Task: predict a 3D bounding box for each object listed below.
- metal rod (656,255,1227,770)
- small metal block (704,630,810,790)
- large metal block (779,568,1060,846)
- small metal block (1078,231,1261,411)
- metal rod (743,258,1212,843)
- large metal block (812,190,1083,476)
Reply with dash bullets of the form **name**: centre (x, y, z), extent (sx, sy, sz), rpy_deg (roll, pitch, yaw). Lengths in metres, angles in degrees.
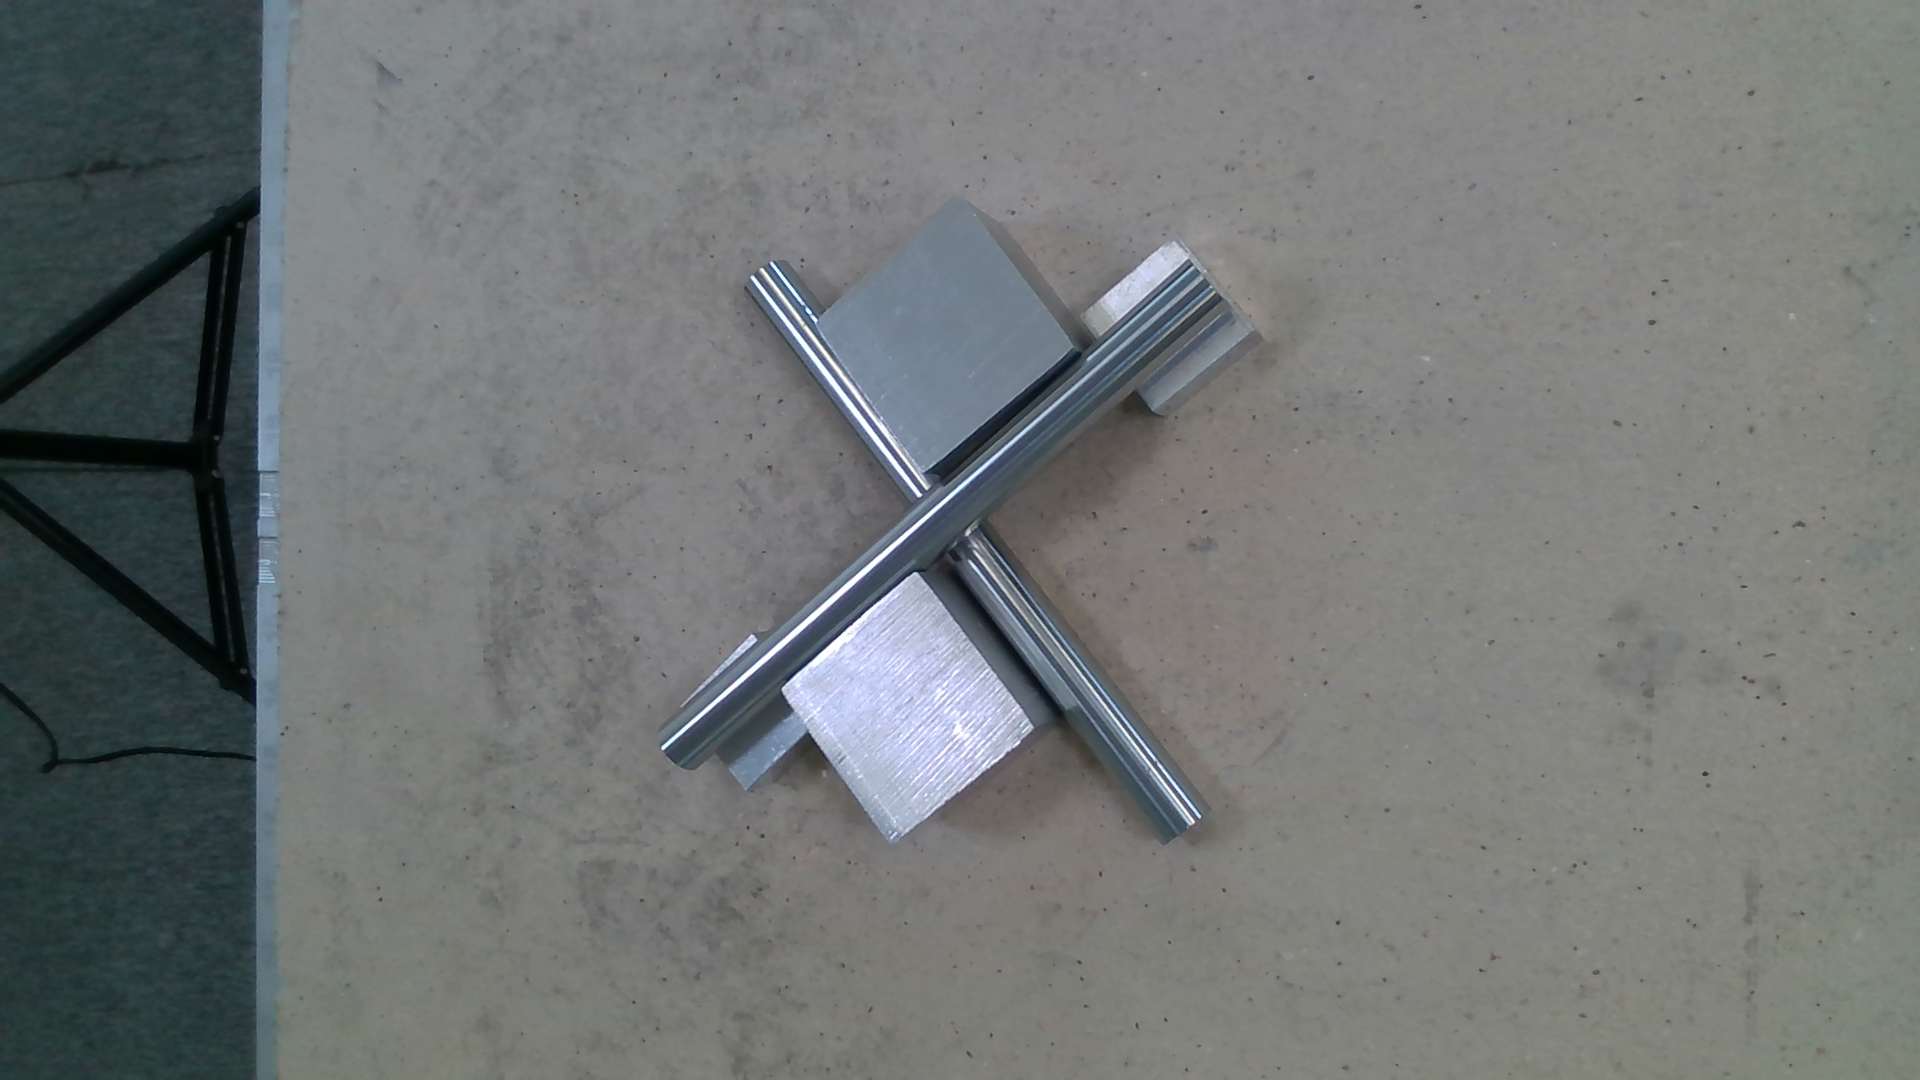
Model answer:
- **metal rod**: centre (-0.015, -0.004, 0.564), extent (0.300, 0.025, 0.025), rpy_deg (-41, 77, 16)
- **small metal block**: centre (-0.089, 0.075, 0.621), extent (0.050, 0.025, 0.050), rpy_deg (-45, 76, 15)
- **large metal block**: centre (-0.014, 0.068, 0.579), extent (0.080, 0.050, 0.080), rpy_deg (-41, 77, 16)
- **small metal block**: centre (0.085, -0.087, 0.555), extent (0.050, 0.025, 0.050), rpy_deg (-39, 78, 16)
- **metal rod**: centre (0.002, -0.001, 0.586), extent (0.025, 0.025, 0.300), rpy_deg (-41, 77, 16)
- **large metal block**: centre (0.000, -0.082, 0.570), extent (0.080, 0.050, 0.080), rpy_deg (-39, 78, 16)
